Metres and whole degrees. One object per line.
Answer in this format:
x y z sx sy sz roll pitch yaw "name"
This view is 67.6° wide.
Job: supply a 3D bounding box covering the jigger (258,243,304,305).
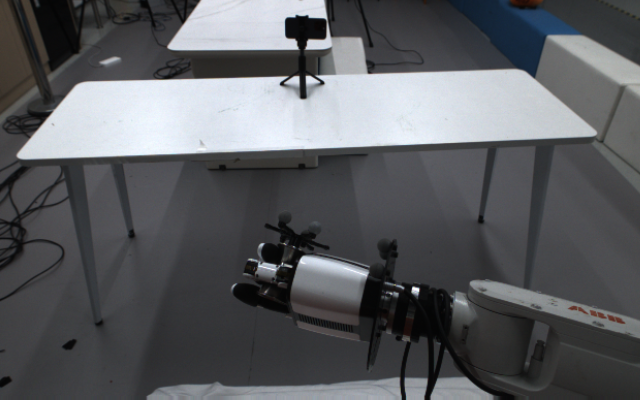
-0.045 0.092 0.608 0.043 0.043 0.071 15 71 18 "jigger"
